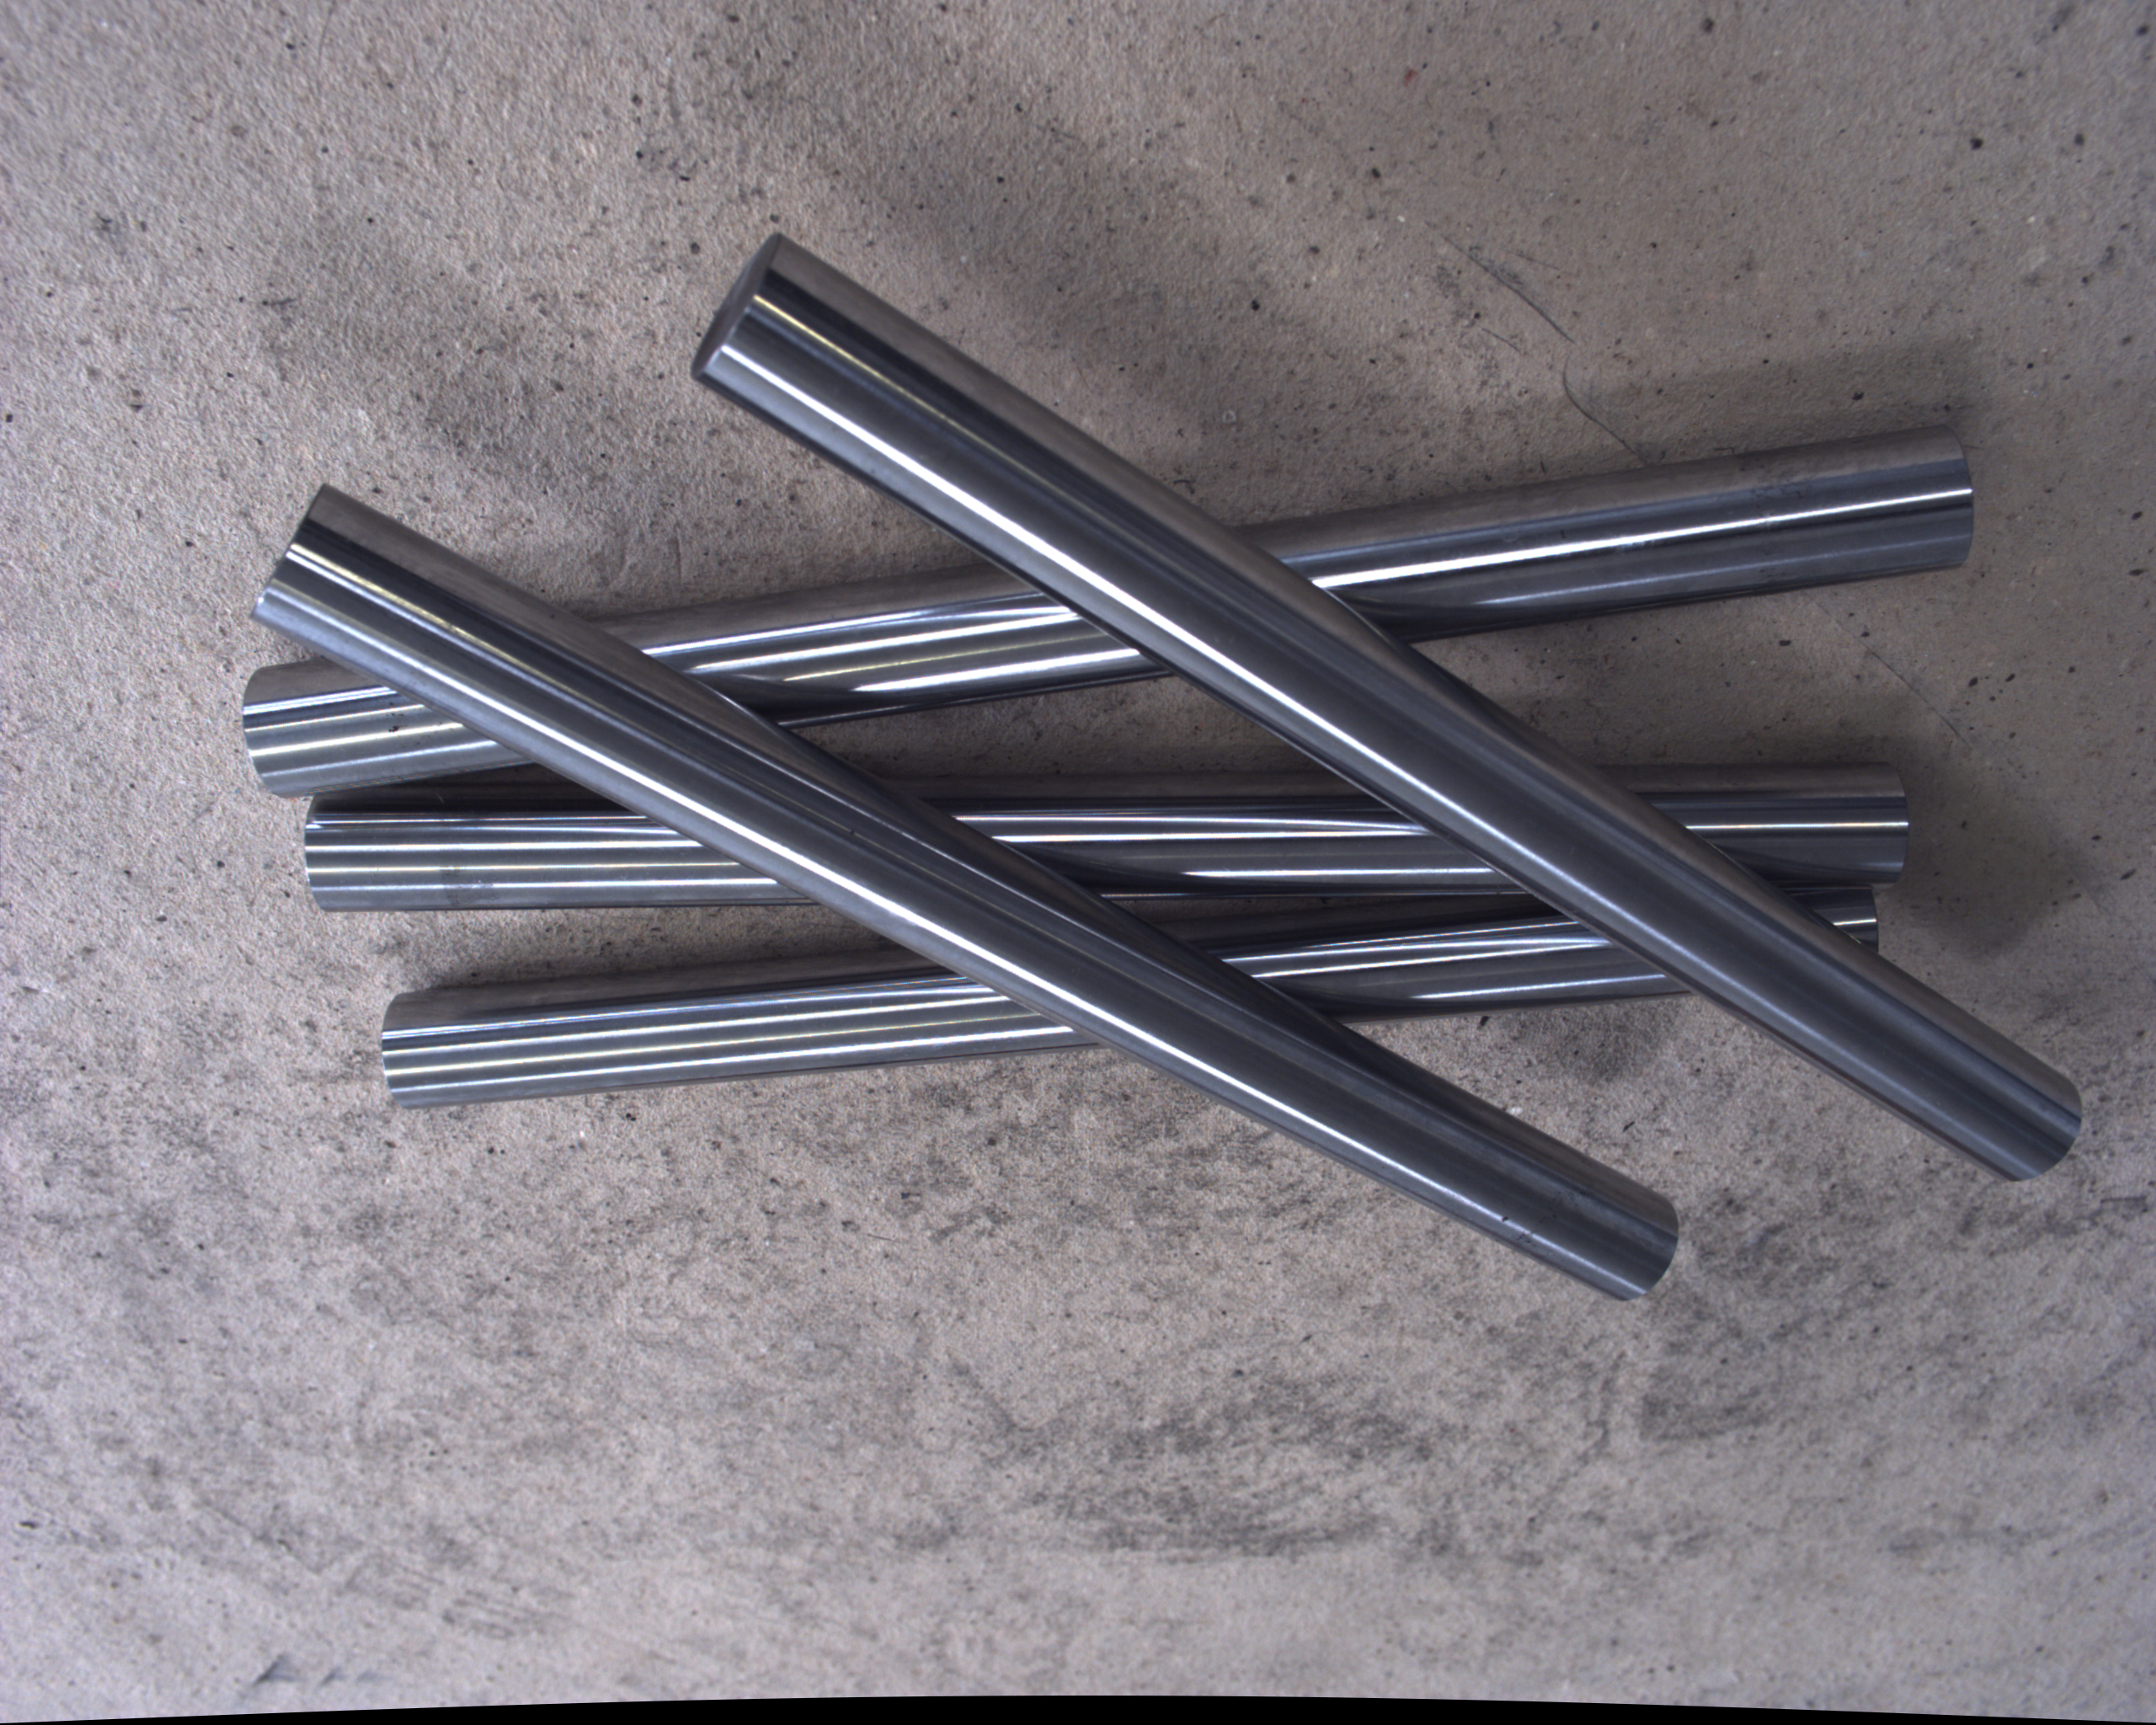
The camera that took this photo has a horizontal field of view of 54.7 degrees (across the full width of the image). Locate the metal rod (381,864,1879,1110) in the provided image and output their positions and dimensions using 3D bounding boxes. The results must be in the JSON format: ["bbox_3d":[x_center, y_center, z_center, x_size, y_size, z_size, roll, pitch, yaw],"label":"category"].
[{"bbox_3d":[0.007,0.026,0.430,0.302,0.025,0.025,-6,130,4],"label":"metal rod"}]

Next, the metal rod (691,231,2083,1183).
[{"bbox_3d":[0.071,-0.014,0.364,0.301,0.025,0.025,29,124,-23],"label":"metal rod"}]

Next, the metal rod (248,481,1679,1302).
[{"bbox_3d":[-0.003,0.016,0.389,0.301,0.025,0.025,28,125,-22],"label":"metal rod"}]

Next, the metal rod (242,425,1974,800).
[{"bbox_3d":[0.000,-0.043,0.372,0.302,0.025,0.025,-7,130,6],"label":"metal rod"}]

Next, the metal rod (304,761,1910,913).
[{"bbox_3d":[0.005,-0.005,0.404,0.302,0.025,0.025,-1,130,0],"label":"metal rod"}]
